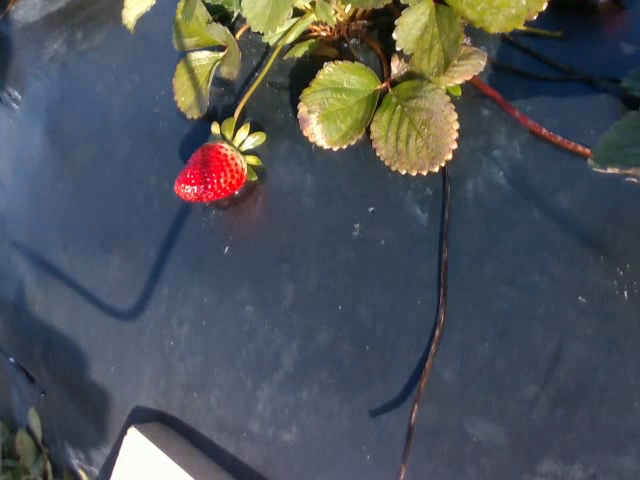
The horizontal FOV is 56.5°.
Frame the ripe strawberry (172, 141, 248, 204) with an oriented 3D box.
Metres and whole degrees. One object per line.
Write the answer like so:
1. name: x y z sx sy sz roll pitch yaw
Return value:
1. ripe strawberry: -0.047 -0.026 0.248 0.028 0.031 0.041 -10 20 36
